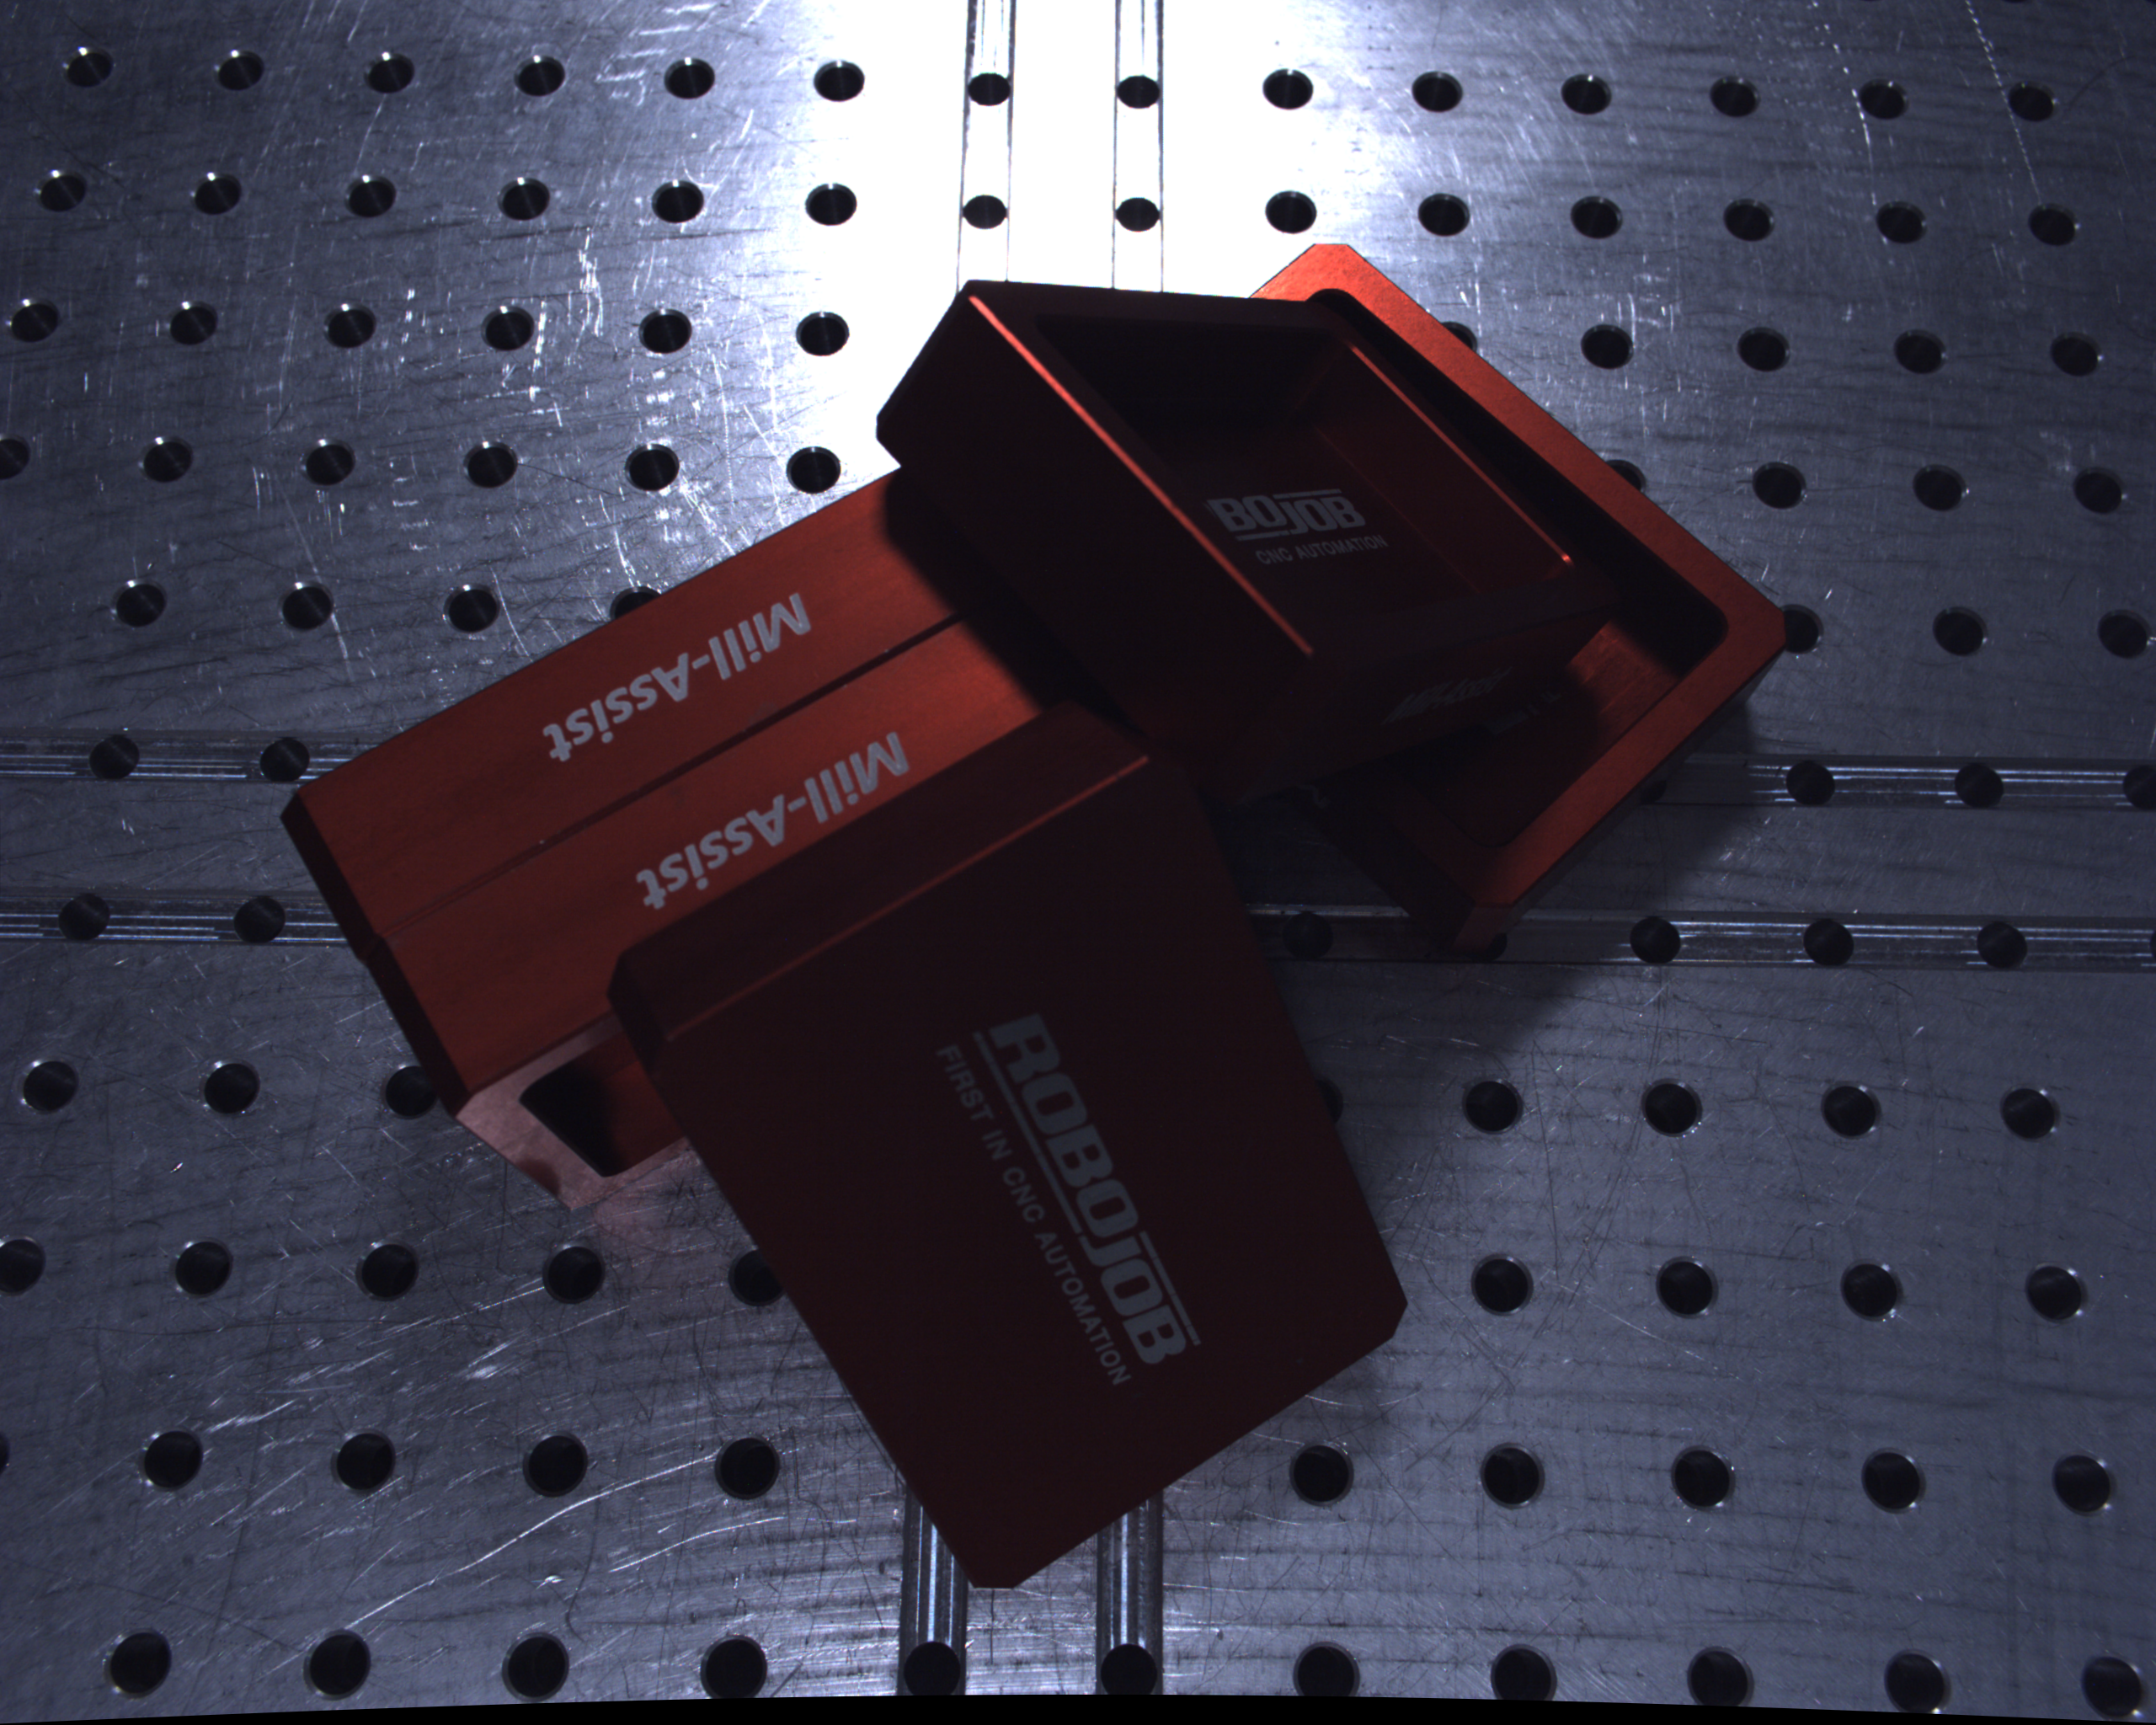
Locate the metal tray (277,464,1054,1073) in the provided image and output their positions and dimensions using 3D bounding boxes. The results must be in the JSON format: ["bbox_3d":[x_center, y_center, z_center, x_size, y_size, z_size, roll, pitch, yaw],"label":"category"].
[{"bbox_3d":[-0.066,-0.016,0.382,0.131,0.090,0.030,-31,73,-11],"label":"metal tray"}]

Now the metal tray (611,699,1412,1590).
[{"bbox_3d":[-0.006,0.050,0.344,0.090,0.129,0.030,-31,32,-11],"label":"metal tray"}]

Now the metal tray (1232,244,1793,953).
[{"bbox_3d":[0.066,-0.056,0.429,0.090,0.030,0.130,-42,76,-14],"label":"metal tray"}]

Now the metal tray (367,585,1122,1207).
[{"bbox_3d":[-0.049,0.008,0.372,0.131,0.090,0.030,-31,73,-11],"label":"metal tray"}]

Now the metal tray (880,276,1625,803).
[{"bbox_3d":[0.037,-0.062,0.375,0.090,0.030,0.131,49,32,15],"label":"metal tray"}]
